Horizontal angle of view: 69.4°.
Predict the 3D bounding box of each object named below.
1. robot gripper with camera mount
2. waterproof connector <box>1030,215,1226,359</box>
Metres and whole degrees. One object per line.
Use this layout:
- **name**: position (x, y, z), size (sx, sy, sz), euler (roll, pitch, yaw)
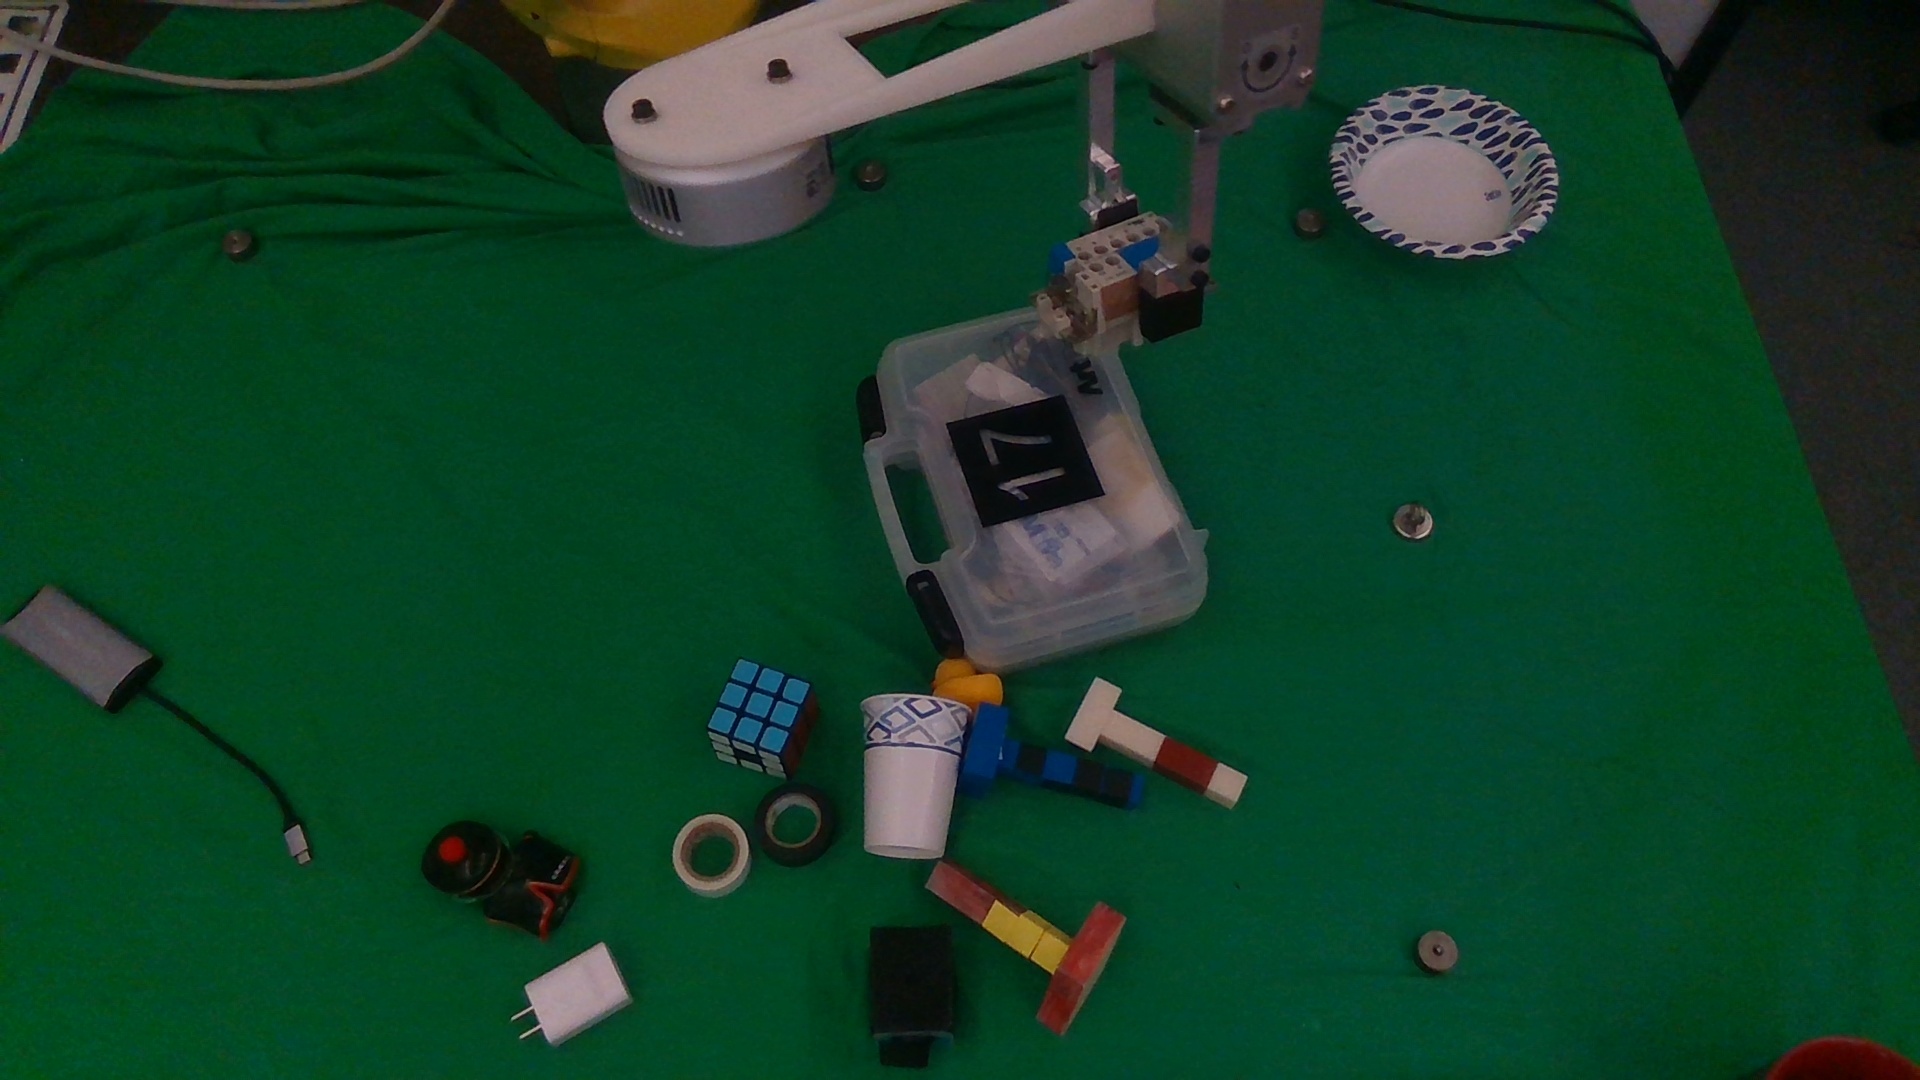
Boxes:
- **robot gripper with camera mount**: position (0.000, -0.107, 0.429), size (0.193, 0.158, 0.119), euler (-25, 42, -19)
- **waterproof connector**: position (0.060, -0.090, 0.502), size (0.065, 0.037, 0.035), euler (-19, 42, -10)
